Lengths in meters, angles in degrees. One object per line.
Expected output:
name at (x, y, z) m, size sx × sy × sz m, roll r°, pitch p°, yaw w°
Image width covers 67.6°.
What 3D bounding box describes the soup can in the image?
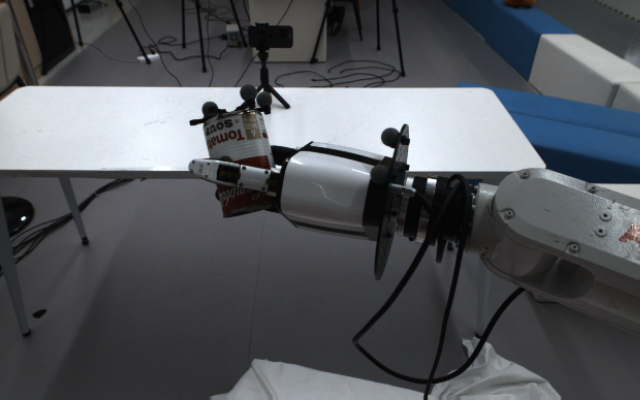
soup can at (-0.081, -0.037, 0.524) m, size 0.067 × 0.101 × 0.067 m, roll -14°, pitch -2°, yaw -1°
